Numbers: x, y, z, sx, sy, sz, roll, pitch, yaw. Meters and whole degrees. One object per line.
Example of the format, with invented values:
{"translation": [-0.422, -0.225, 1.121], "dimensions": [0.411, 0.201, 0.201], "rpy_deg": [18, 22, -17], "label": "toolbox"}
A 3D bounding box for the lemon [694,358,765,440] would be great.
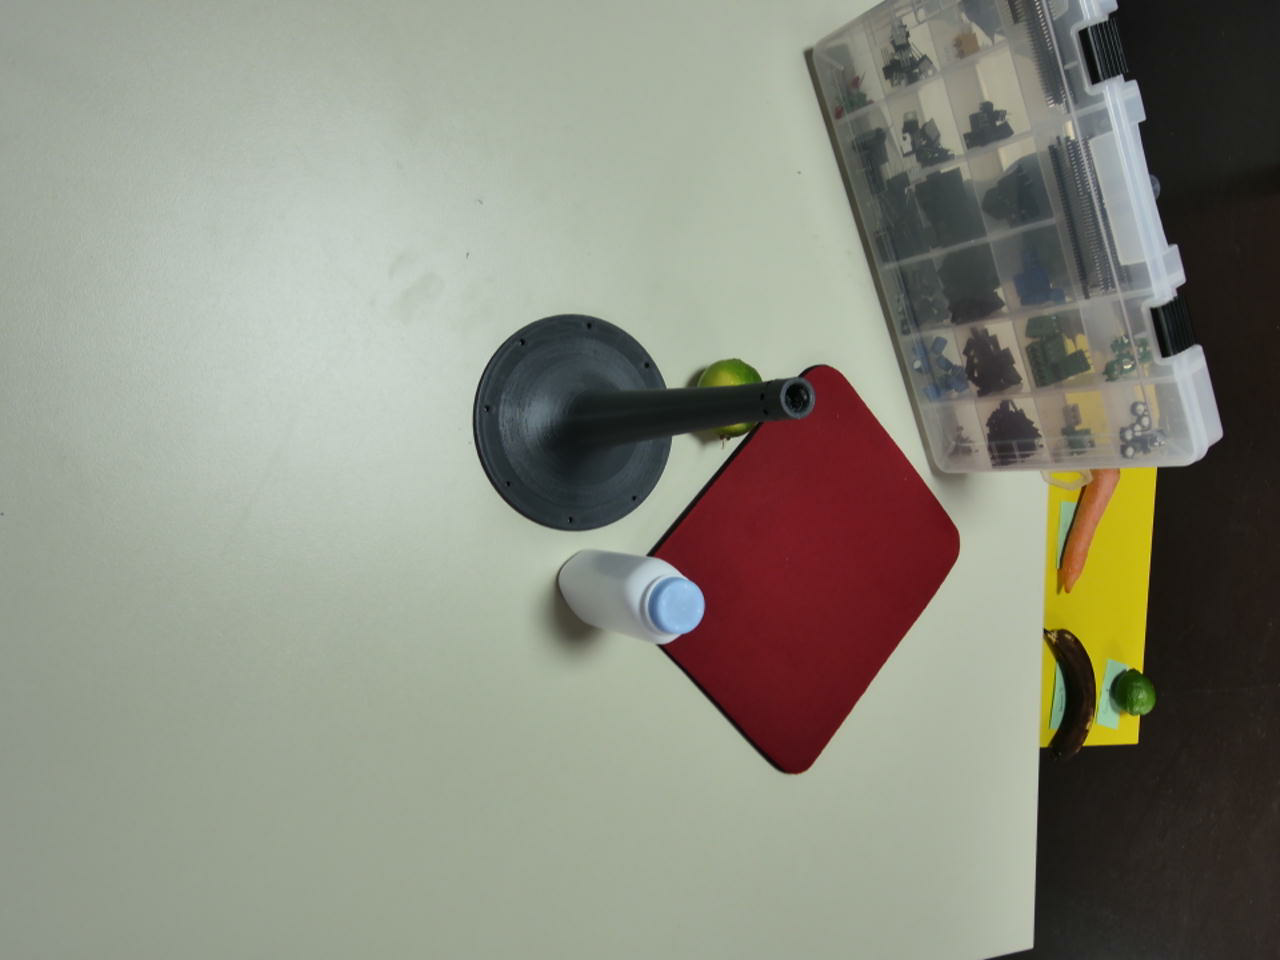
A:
{"translation": [0.066, -0.060, 0.728], "dimensions": [0.055, 0.050, 0.054], "rpy_deg": [-39, 108, -22], "label": "lemon"}
